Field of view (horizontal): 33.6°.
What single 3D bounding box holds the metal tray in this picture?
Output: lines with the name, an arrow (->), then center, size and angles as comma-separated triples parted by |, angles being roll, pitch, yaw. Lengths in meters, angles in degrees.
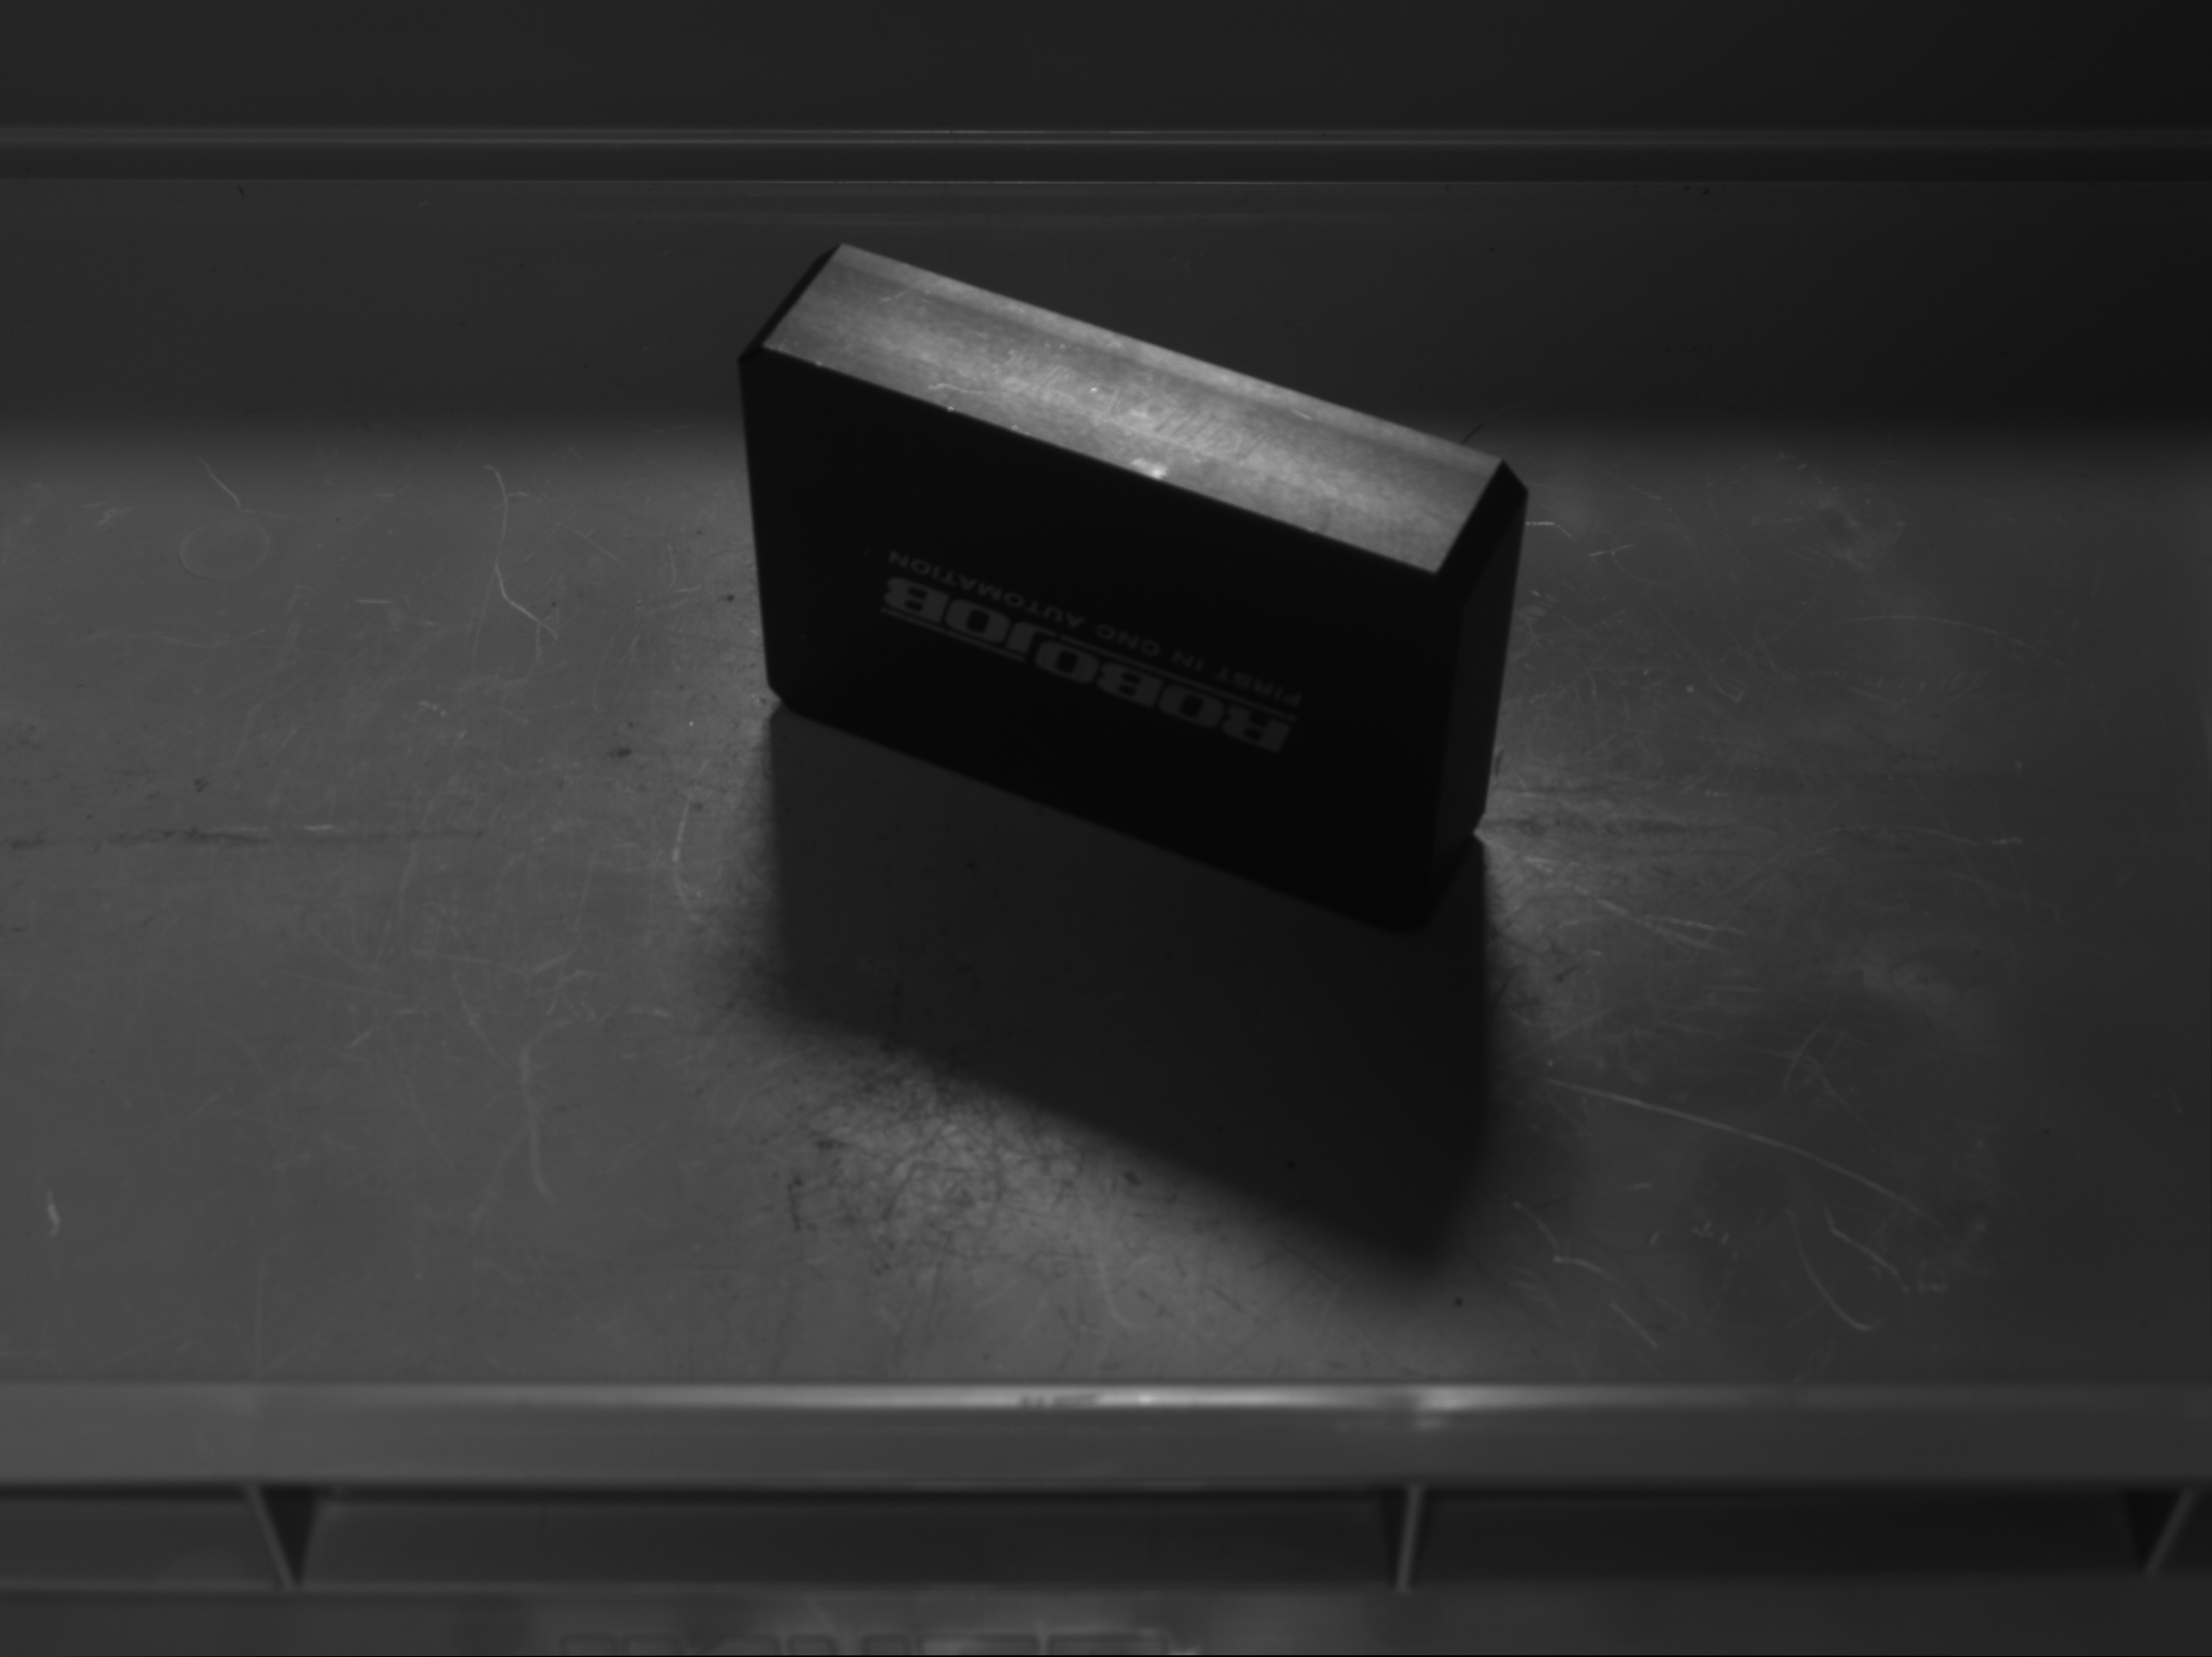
metal tray -> 0.006, -0.041, 0.630 | 0.130, 0.090, 0.030 | 20, 53, 16
